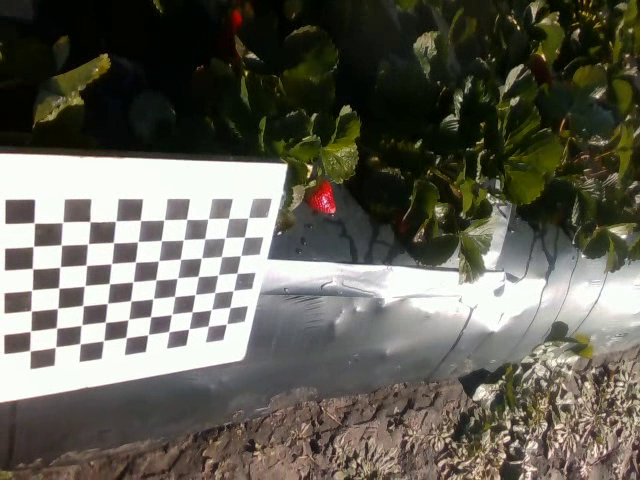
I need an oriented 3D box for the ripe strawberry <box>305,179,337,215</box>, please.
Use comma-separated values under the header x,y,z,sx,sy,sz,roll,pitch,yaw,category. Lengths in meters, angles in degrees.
x,y,z,sx,sy,sz,roll,pitch,yaw,category
0.004,-0.052,0.793,0.029,0.048,0.055,44,-7,48,ripe strawberry
